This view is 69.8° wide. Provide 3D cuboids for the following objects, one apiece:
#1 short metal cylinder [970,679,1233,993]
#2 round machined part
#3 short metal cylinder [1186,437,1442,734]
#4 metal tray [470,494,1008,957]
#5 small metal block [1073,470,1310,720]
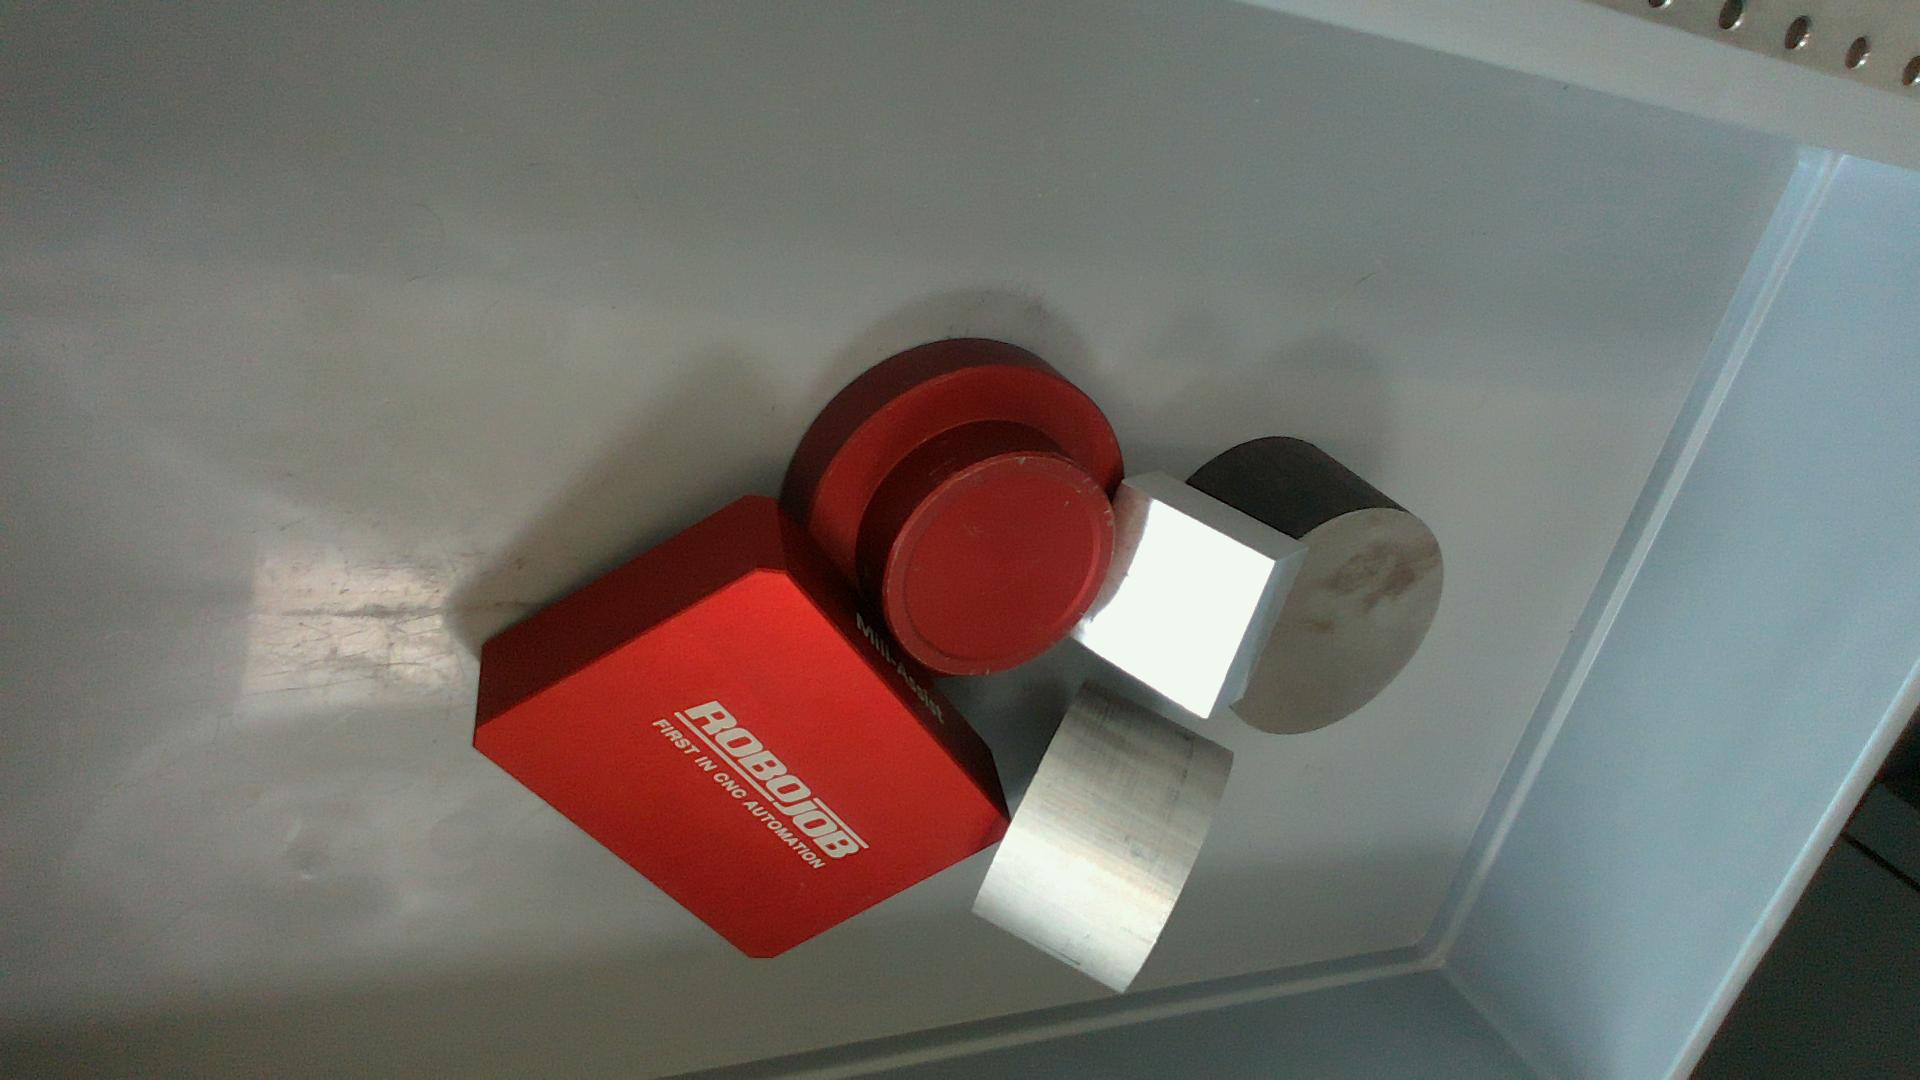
[{"bbox_3d":[0.043,0.090,0.423,0.050,0.080,0.080,26,110,8],"label":"short metal cylinder"},{"bbox_3d":[0.003,-0.002,0.376,0.098,0.042,0.098,-14,124,-21],"label":"round machined part"},{"bbox_3d":[0.104,0.014,0.437,0.080,0.050,0.080,-14,124,-21],"label":"short metal cylinder"},{"bbox_3d":[-0.055,0.057,0.375,0.090,0.030,0.130,-29,130,9],"label":"metal tray"},{"bbox_3d":[0.063,0.015,0.391,0.025,0.050,0.050,-15,129,-55],"label":"small metal block"}]
